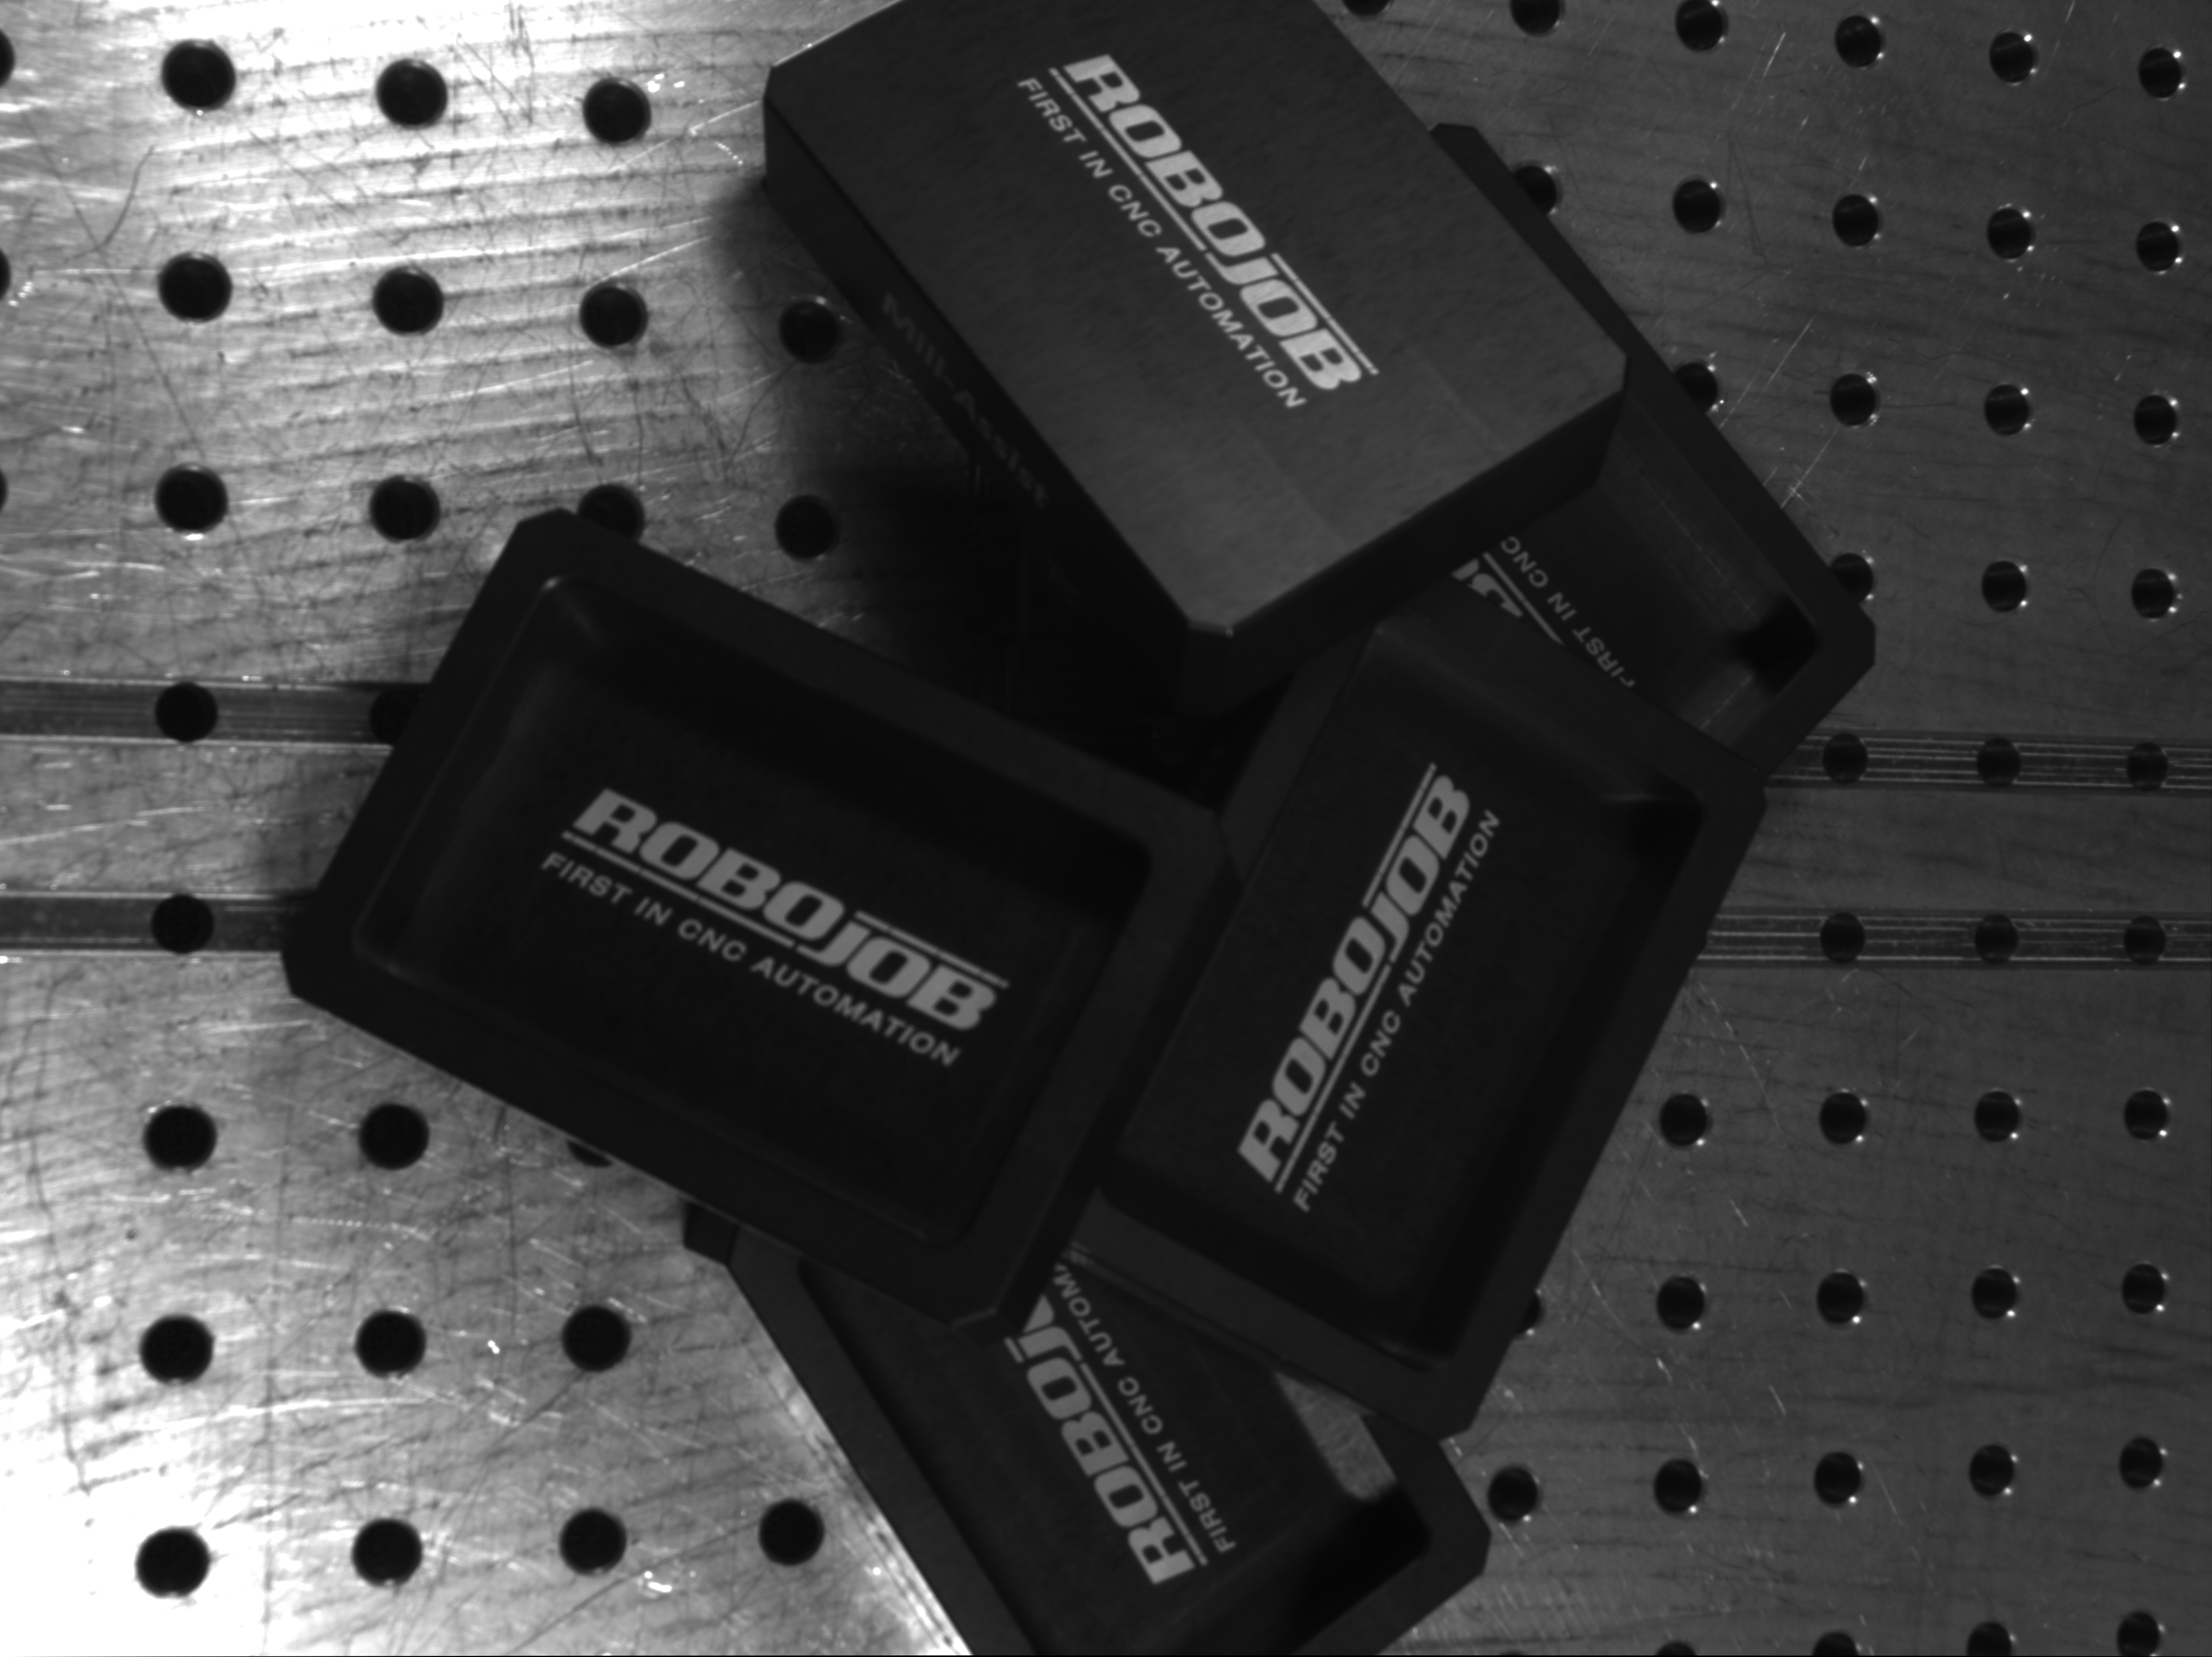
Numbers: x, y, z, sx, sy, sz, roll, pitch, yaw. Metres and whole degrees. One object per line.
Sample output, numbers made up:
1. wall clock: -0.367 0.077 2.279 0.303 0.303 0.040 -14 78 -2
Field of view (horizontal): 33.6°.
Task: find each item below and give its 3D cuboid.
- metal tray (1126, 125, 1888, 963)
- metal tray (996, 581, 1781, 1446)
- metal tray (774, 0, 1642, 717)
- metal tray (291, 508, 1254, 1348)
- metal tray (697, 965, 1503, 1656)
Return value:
1. metal tray: 0.071 -0.050 0.669 0.090 0.030 0.130 -45 104 -14
2. metal tray: 0.049 0.028 0.629 0.090 0.030 0.130 30 80 -17
3. metal tray: 0.015 -0.093 0.617 0.090 0.030 0.130 -32 70 -17
4. metal tray: -0.053 0.015 0.591 0.130 0.030 0.090 25 80 13
5. metal tray: 0.000 0.100 0.643 0.090 0.030 0.130 -34 101 -17
